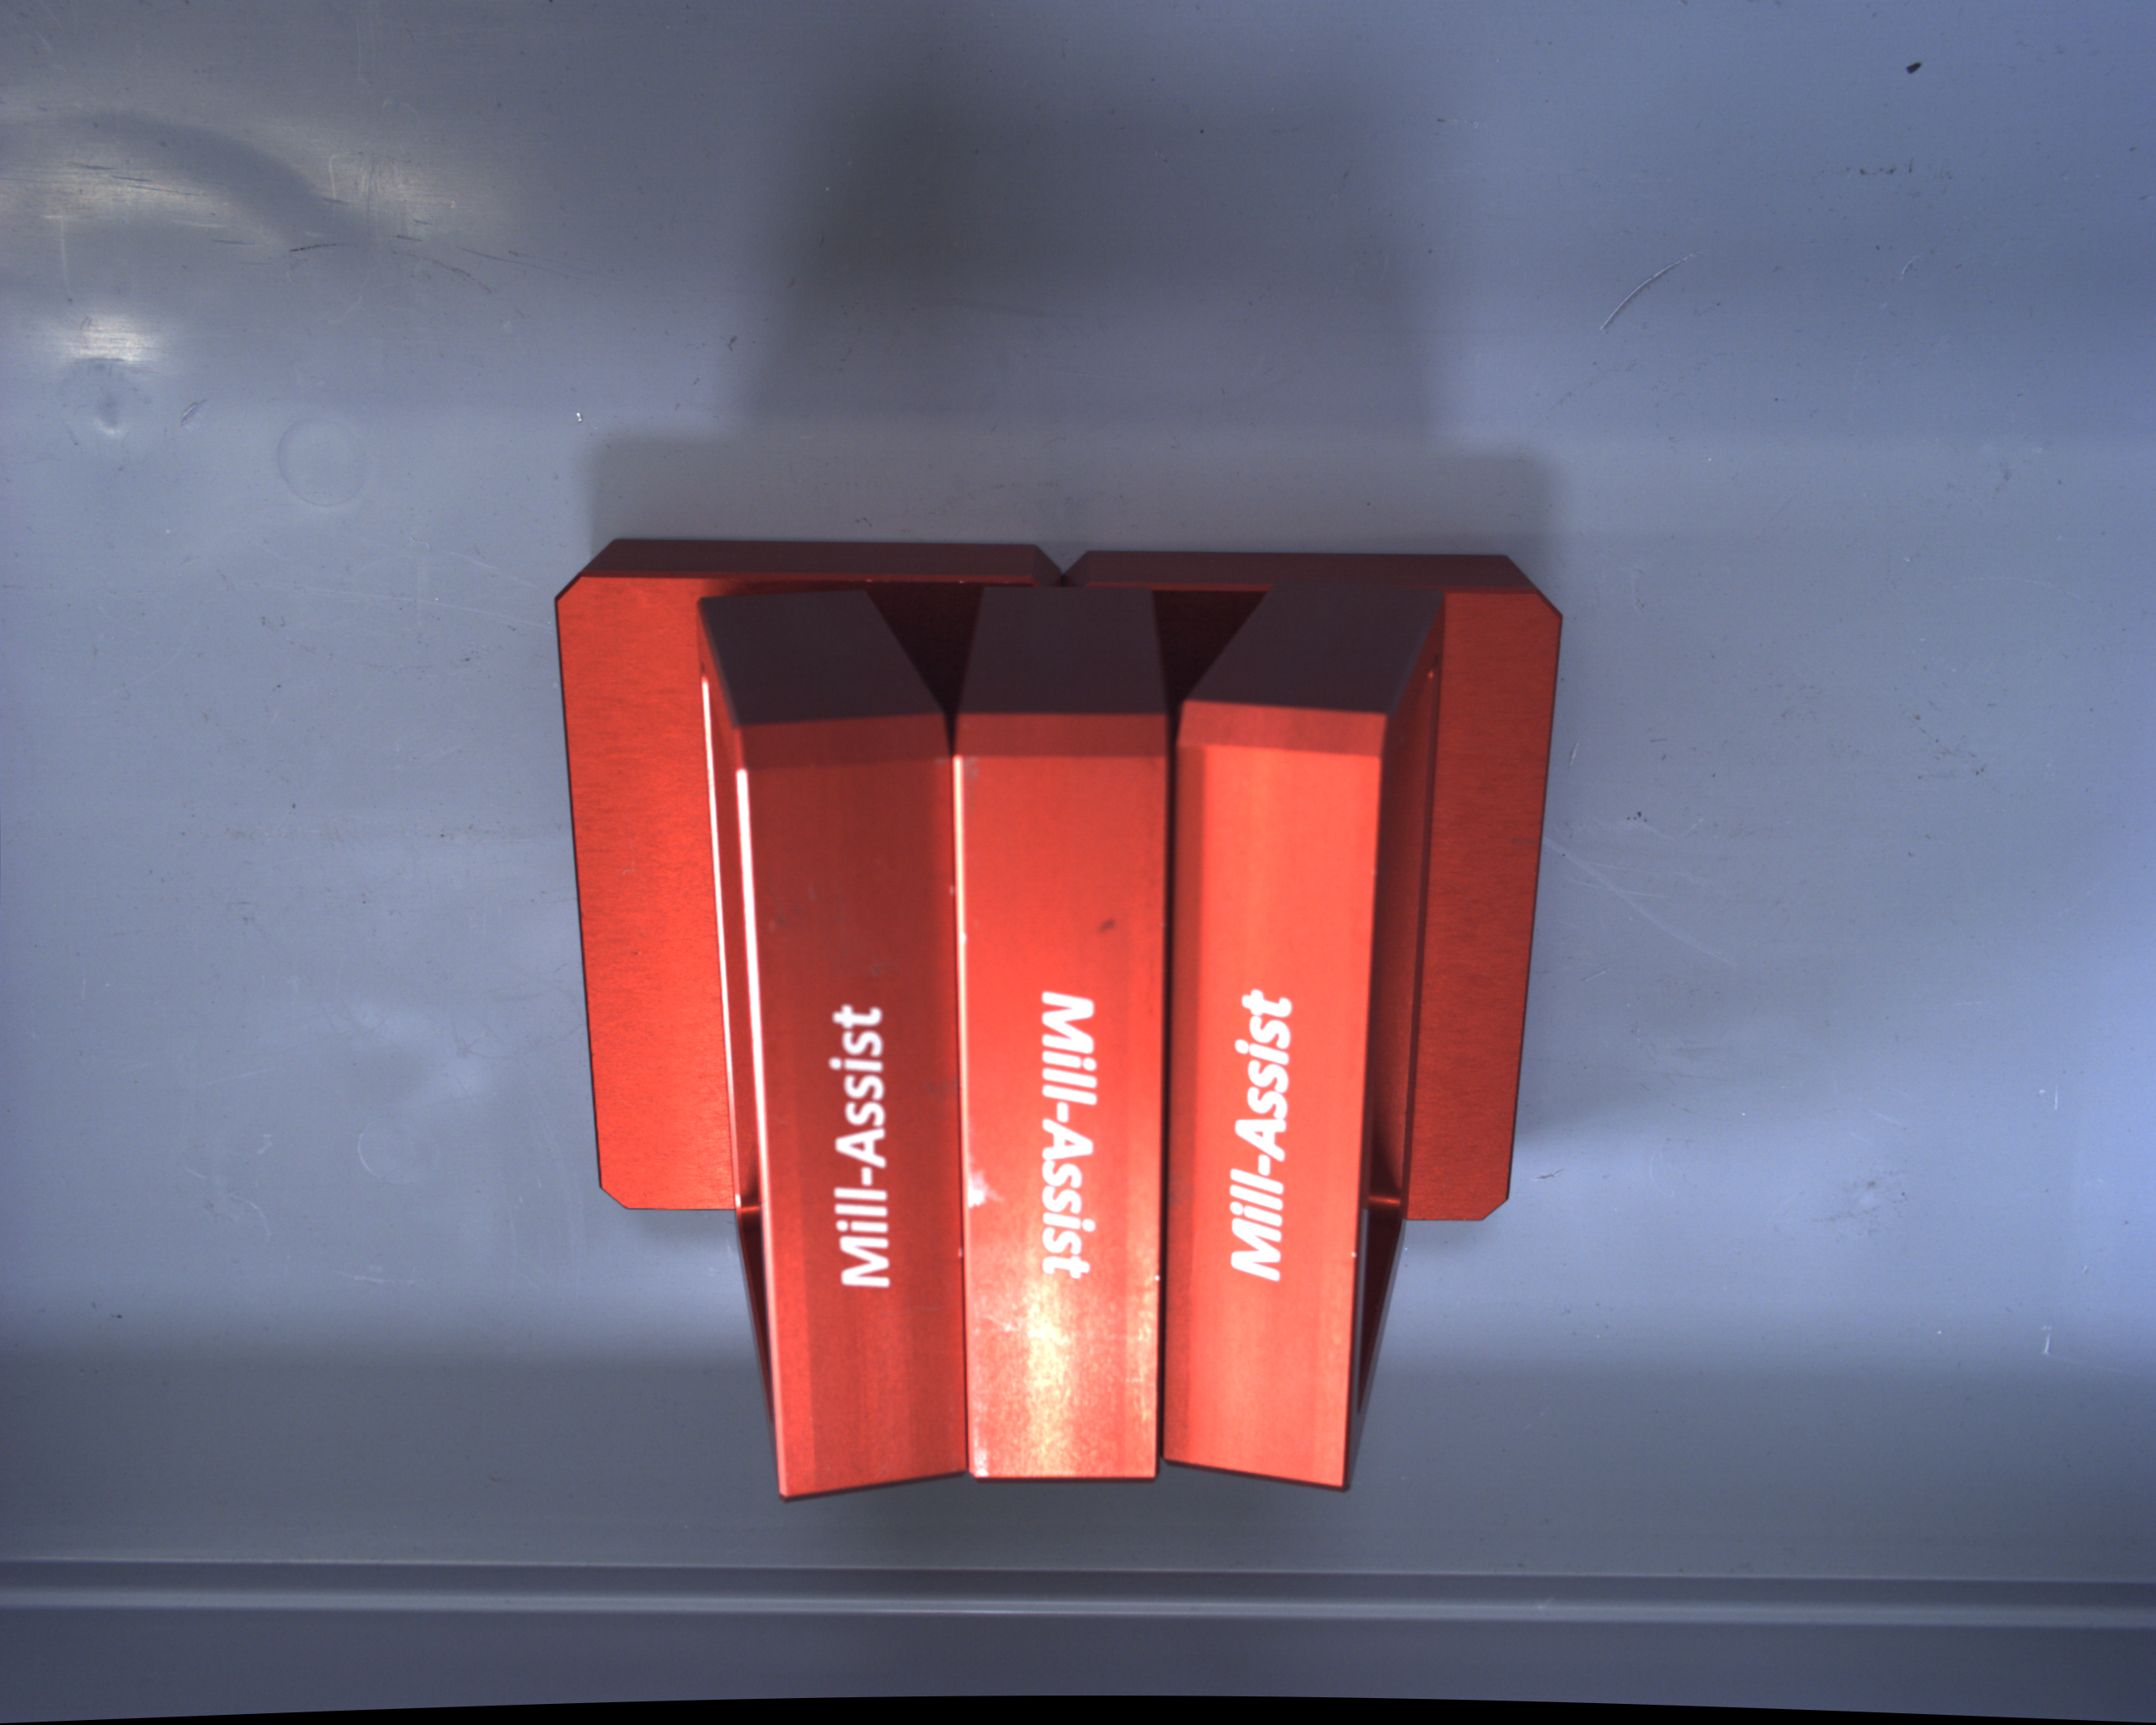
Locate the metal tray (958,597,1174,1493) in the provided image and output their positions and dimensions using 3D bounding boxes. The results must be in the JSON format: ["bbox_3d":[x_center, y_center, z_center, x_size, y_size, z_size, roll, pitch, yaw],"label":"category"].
[{"bbox_3d":[-0.002,0.027,0.351,0.030,0.090,0.129,0,108,0],"label":"metal tray"}]

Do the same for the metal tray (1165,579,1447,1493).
[{"bbox_3d":[0.039,0.025,0.350,0.030,0.090,0.129,5,111,13],"label":"metal tray"}]

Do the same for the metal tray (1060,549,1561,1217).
[{"bbox_3d":[0.041,0.006,0.409,0.091,0.030,0.129,0,110,-1],"label":"metal tray"}]

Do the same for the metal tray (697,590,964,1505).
[{"bbox_3d":[-0.042,0.027,0.349,0.030,0.090,0.129,-4,111,-12],"label":"metal tray"}]

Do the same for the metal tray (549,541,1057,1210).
[{"bbox_3d":[-0.050,0.004,0.407,0.091,0.030,0.129,0,110,-1],"label":"metal tray"}]
